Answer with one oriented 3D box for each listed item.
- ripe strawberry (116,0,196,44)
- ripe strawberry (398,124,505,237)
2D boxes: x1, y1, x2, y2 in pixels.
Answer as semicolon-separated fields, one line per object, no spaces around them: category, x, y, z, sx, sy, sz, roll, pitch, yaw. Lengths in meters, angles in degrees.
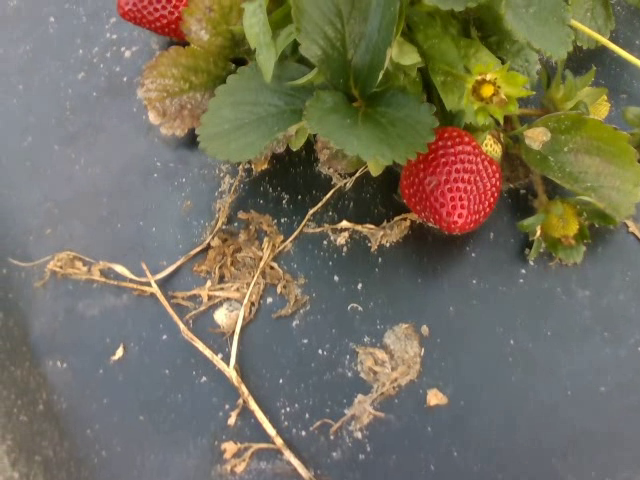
ripe strawberry;-0.074;-0.112;0.282;0.050;0.043;0.043;-22;-19;-10
ripe strawberry;0.052;-0.021;0.233;0.043;0.046;0.047;-16;-44;19
